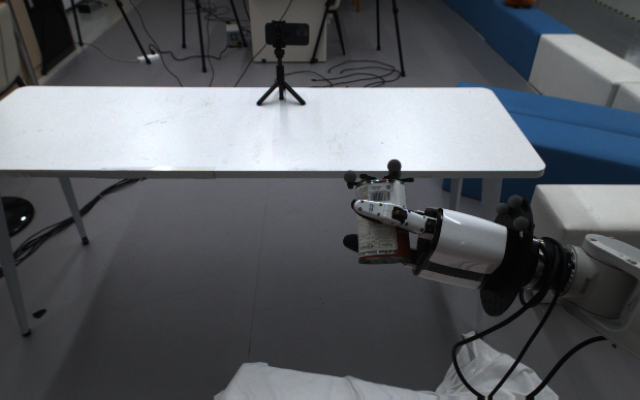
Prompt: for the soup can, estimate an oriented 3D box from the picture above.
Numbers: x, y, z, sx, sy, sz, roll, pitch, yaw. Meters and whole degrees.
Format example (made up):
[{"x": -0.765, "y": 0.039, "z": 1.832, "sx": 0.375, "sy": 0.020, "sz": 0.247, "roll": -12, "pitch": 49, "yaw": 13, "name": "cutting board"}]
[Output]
[{"x": 0.084, "y": 0.029, "z": 0.631, "sx": 0.067, "sy": 0.067, "sz": 0.101, "roll": -2, "pitch": 76, "yaw": -6, "name": "soup can"}]
